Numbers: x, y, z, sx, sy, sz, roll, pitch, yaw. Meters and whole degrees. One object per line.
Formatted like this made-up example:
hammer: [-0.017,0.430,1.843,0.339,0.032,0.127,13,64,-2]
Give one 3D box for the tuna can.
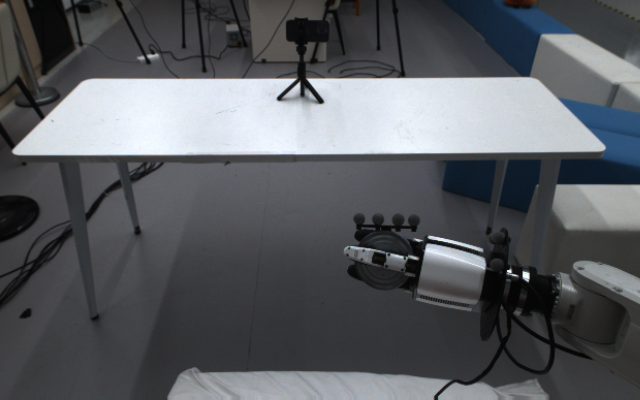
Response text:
tuna can: [0.096,0.086,0.703,0.085,0.085,0.034,13,-3,16]
